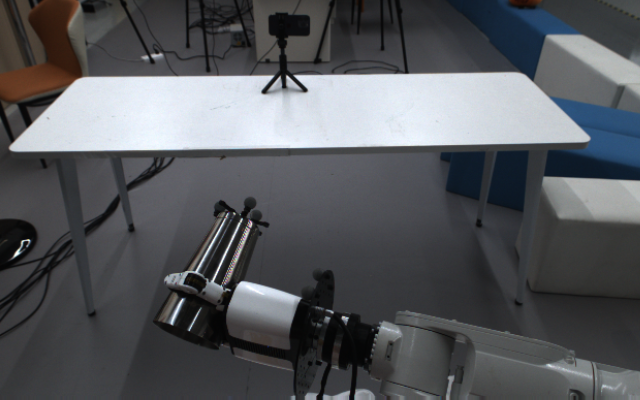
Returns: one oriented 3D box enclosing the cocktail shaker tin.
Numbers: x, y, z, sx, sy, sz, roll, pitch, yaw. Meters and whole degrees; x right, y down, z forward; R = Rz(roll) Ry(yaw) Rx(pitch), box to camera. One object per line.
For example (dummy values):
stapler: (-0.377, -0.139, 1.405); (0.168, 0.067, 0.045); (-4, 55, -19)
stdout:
cocktail shaker tin: (-0.146, 0.104, 0.655); (0.093, 0.093, 0.170); (14, 60, 16)
